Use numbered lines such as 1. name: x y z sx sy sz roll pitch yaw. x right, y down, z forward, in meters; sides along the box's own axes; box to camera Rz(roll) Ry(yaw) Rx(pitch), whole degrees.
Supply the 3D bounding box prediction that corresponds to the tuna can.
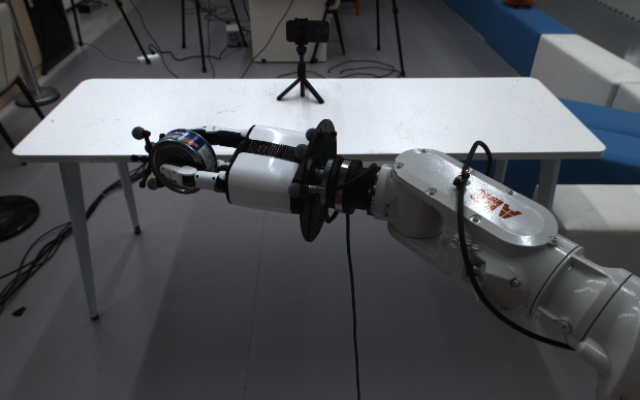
1. tuna can: -0.184 -0.048 0.657 0.085 0.085 0.034 9 34 10
